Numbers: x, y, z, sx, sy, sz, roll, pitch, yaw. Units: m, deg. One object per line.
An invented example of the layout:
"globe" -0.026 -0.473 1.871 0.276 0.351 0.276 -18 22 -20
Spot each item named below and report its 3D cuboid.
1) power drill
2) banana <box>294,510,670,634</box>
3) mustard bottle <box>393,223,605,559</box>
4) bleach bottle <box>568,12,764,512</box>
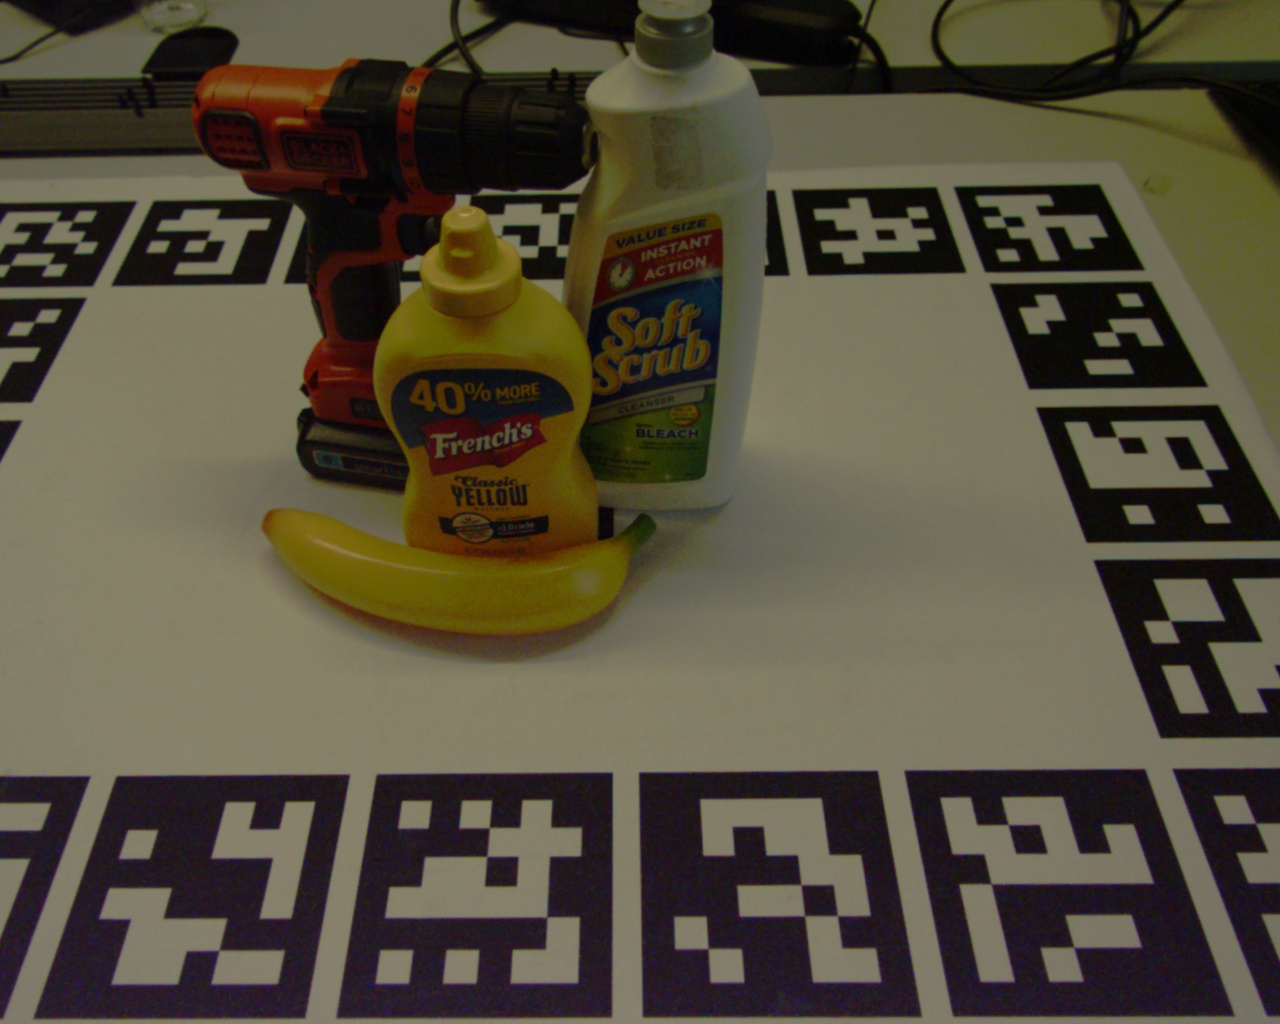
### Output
"power drill" -0.106 -0.118 0.571 0.185 0.186 0.057 10 48 7
"banana" -0.085 0.027 0.583 0.198 0.038 0.074 2 50 6
"mustard bottle" -0.065 -0.052 0.538 0.096 0.191 0.058 1 49 0
"bleach bottle" 0.005 -0.111 0.558 0.103 0.250 0.068 2 43 2
